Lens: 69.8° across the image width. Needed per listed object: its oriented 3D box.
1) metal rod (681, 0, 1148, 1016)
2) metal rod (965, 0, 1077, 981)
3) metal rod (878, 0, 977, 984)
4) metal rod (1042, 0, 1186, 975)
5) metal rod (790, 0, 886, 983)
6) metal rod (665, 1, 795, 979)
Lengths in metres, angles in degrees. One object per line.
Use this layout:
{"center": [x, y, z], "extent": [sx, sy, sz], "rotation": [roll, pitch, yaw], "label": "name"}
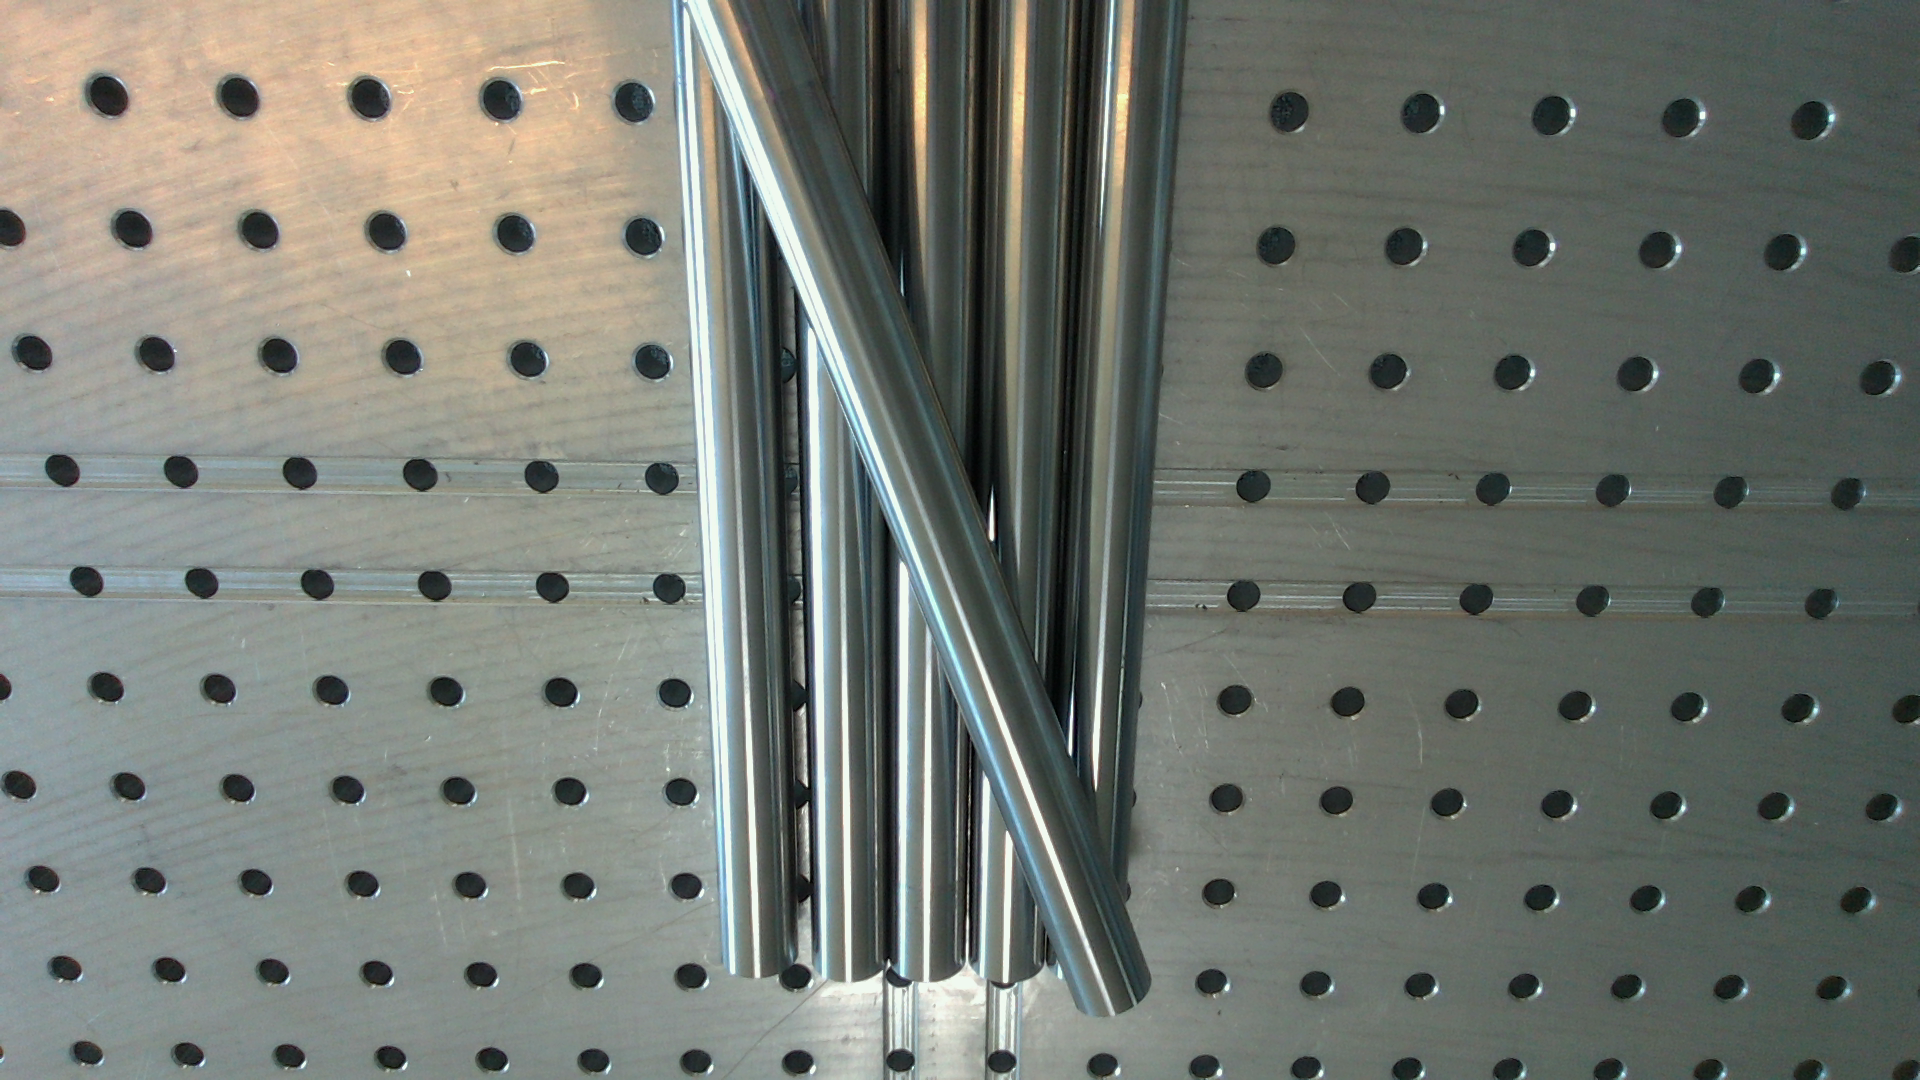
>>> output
{"center": [-0.004, 0.004, 0.371], "extent": [0.025, 0.025, 0.300], "rotation": [-18, 109, 7], "label": "metal rod"}
{"center": [0.016, -0.005, 0.395], "extent": [0.025, 0.025, 0.300], "rotation": [1, 110, 0], "label": "metal rod"}
{"center": [-0.010, -0.005, 0.393], "extent": [0.025, 0.025, 0.300], "rotation": [1, 110, 0], "label": "metal rod"}
{"center": [0.042, -0.005, 0.395], "extent": [0.025, 0.025, 0.300], "rotation": [1, 110, 0], "label": "metal rod"}
{"center": [-0.034, -0.006, 0.393], "extent": [0.025, 0.025, 0.300], "rotation": [1, 110, 0], "label": "metal rod"}
{"center": [-0.063, -0.007, 0.392], "extent": [0.025, 0.025, 0.300], "rotation": [1, 110, 0], "label": "metal rod"}
